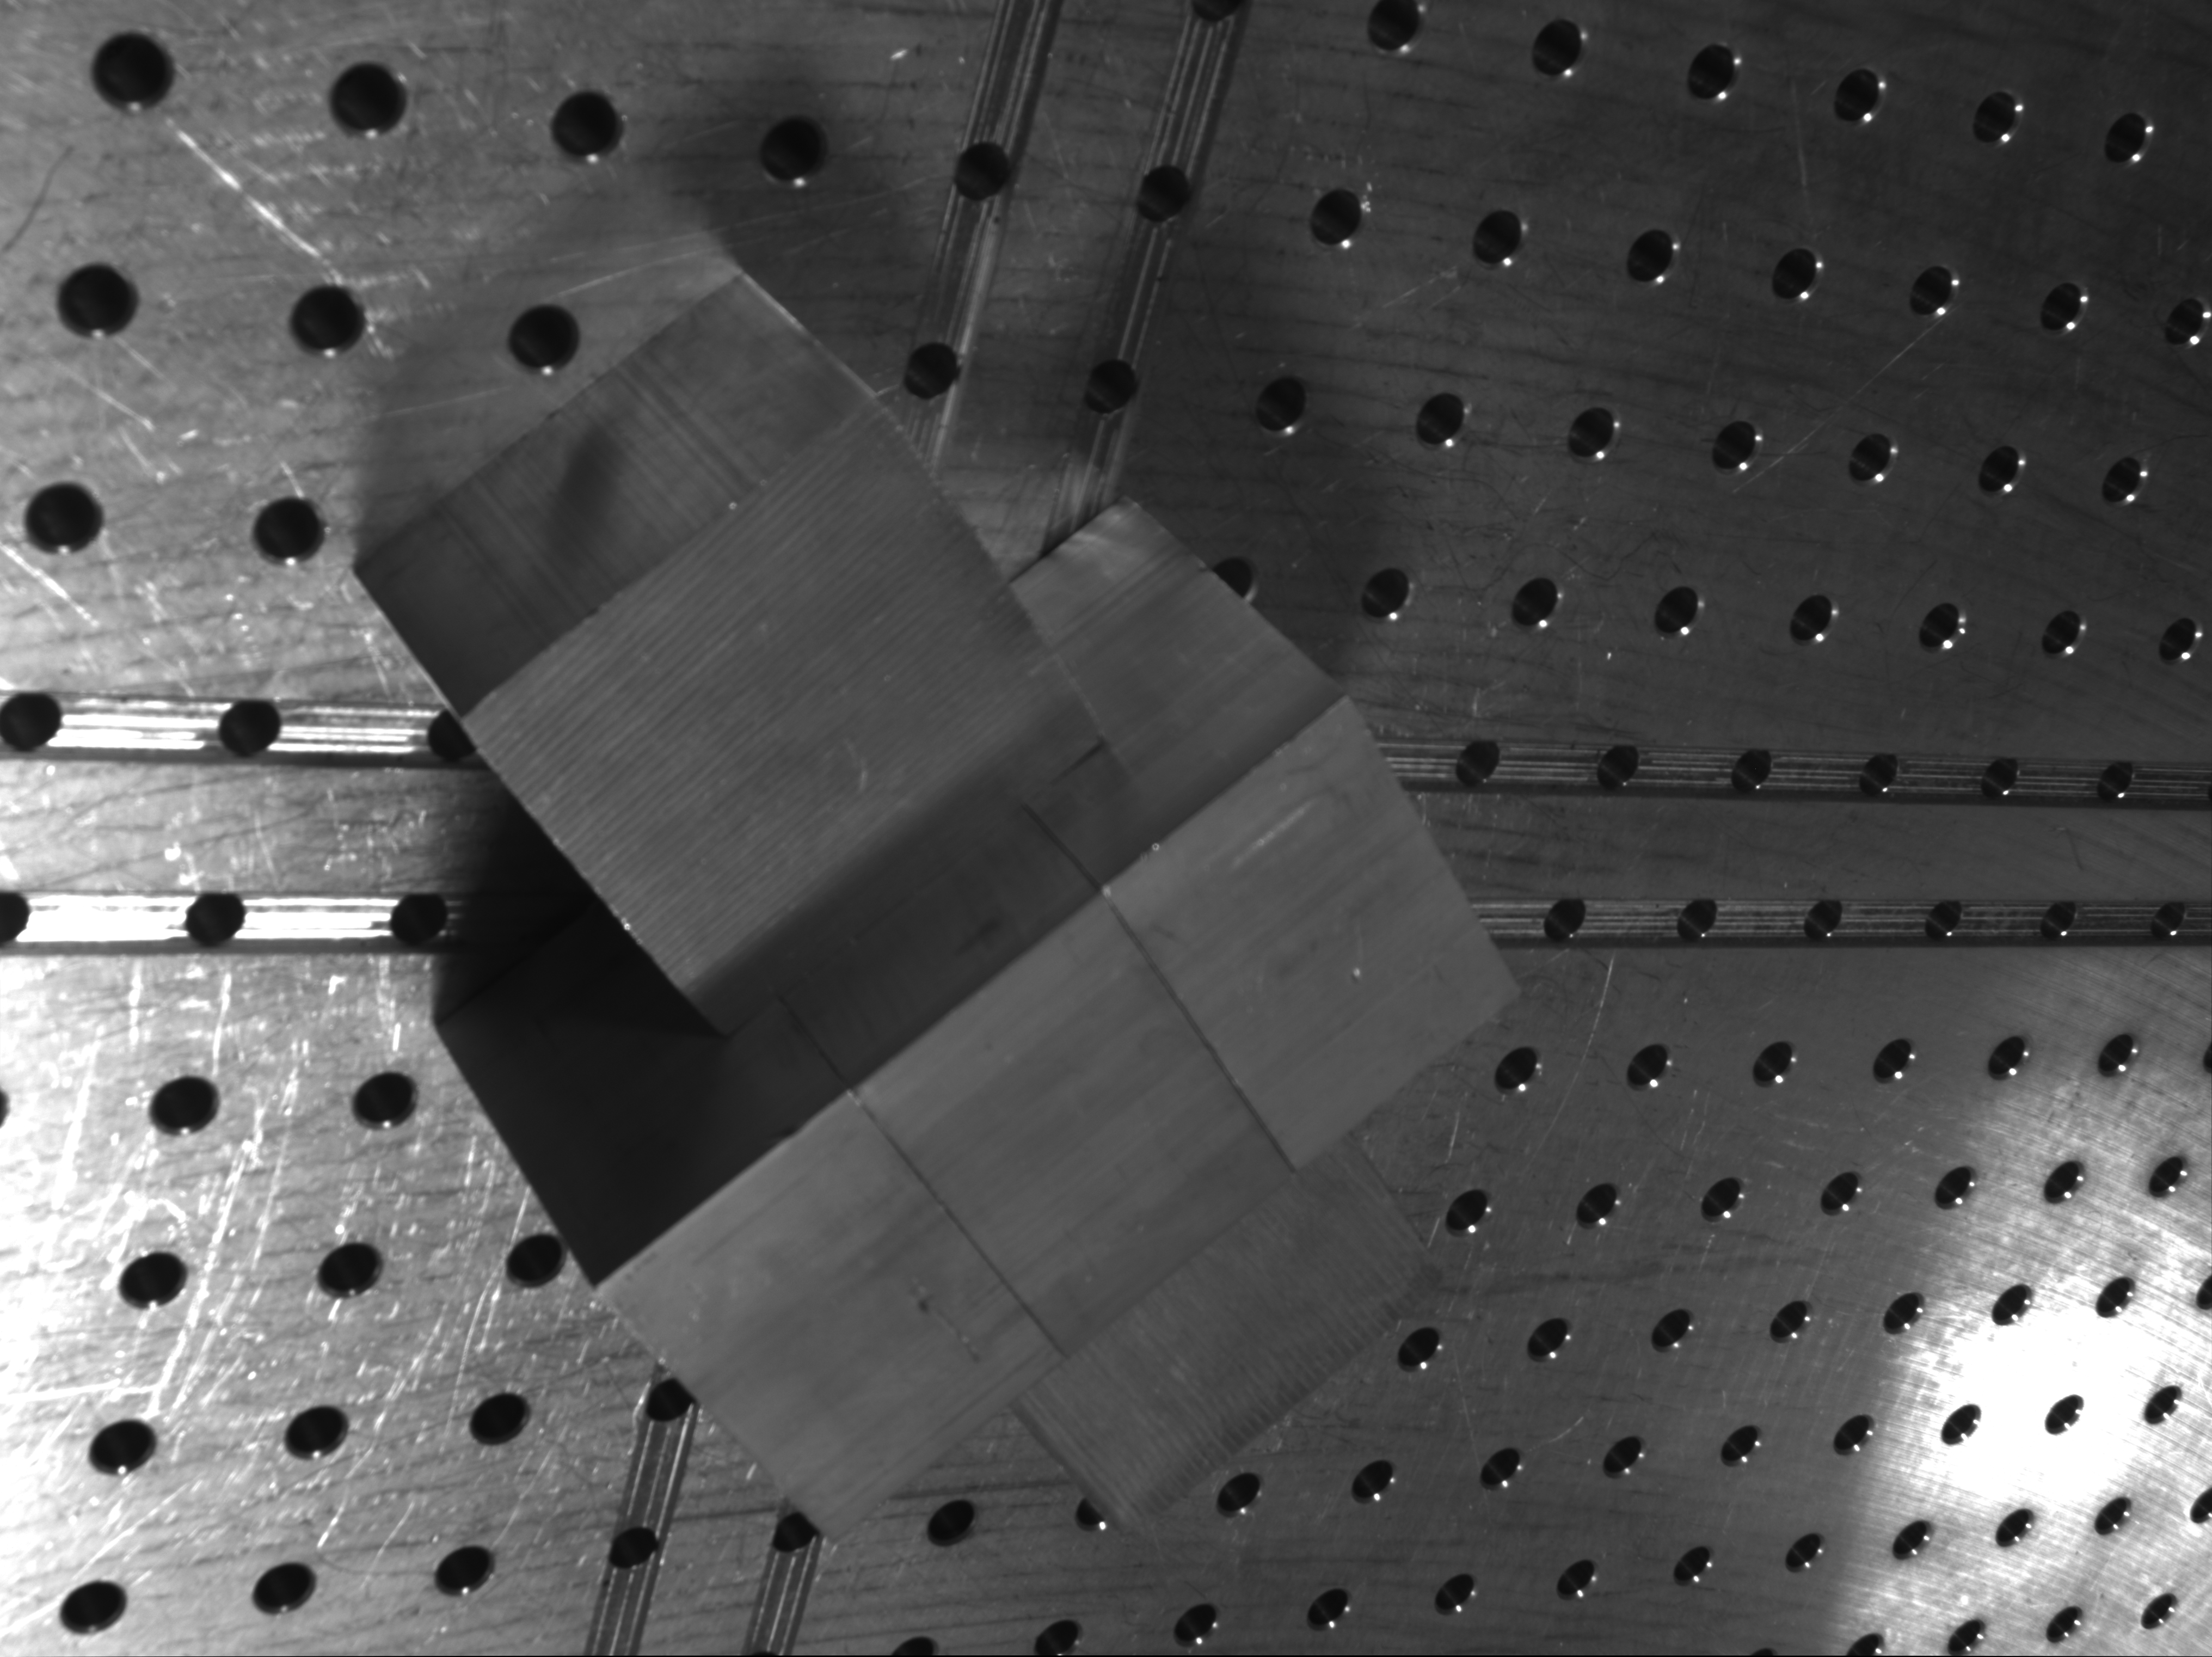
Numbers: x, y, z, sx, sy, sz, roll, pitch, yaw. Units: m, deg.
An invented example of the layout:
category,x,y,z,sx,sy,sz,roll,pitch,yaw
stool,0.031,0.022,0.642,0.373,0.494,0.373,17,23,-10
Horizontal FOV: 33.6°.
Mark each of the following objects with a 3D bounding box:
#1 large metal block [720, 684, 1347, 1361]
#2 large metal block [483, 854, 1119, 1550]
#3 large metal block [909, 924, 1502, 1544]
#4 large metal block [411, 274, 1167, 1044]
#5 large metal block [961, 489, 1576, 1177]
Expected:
category,x,y,z,sx,sy,sz,roll,pitch,yaw
large metal block,-0.013,0.031,0.630,0.050,0.080,0.080,-38,130,-4
large metal block,-0.052,0.063,0.627,0.050,0.080,0.080,-38,130,-4
large metal block,0.016,0.075,0.693,0.080,0.050,0.080,-37,130,-4
large metal block,-0.050,-0.027,0.588,0.080,0.050,0.080,-38,130,-3
large metal block,0.026,0.000,0.634,0.050,0.080,0.080,-38,130,-4
